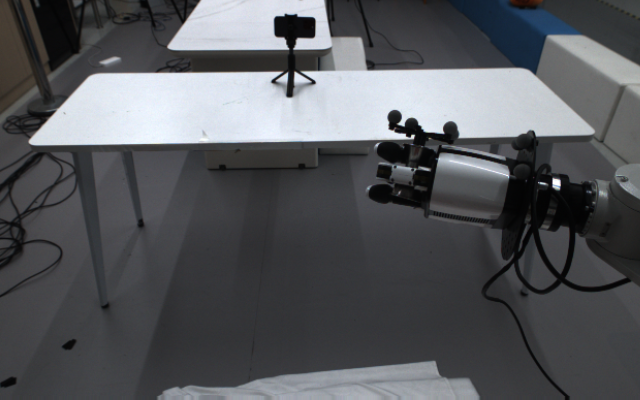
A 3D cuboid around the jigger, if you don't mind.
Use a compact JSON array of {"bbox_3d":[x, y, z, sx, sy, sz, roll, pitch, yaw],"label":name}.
[{"bbox_3d":[0.120,-0.035,0.619,0.043,0.071,0.043,14,1,0],"label":"jigger"}]
